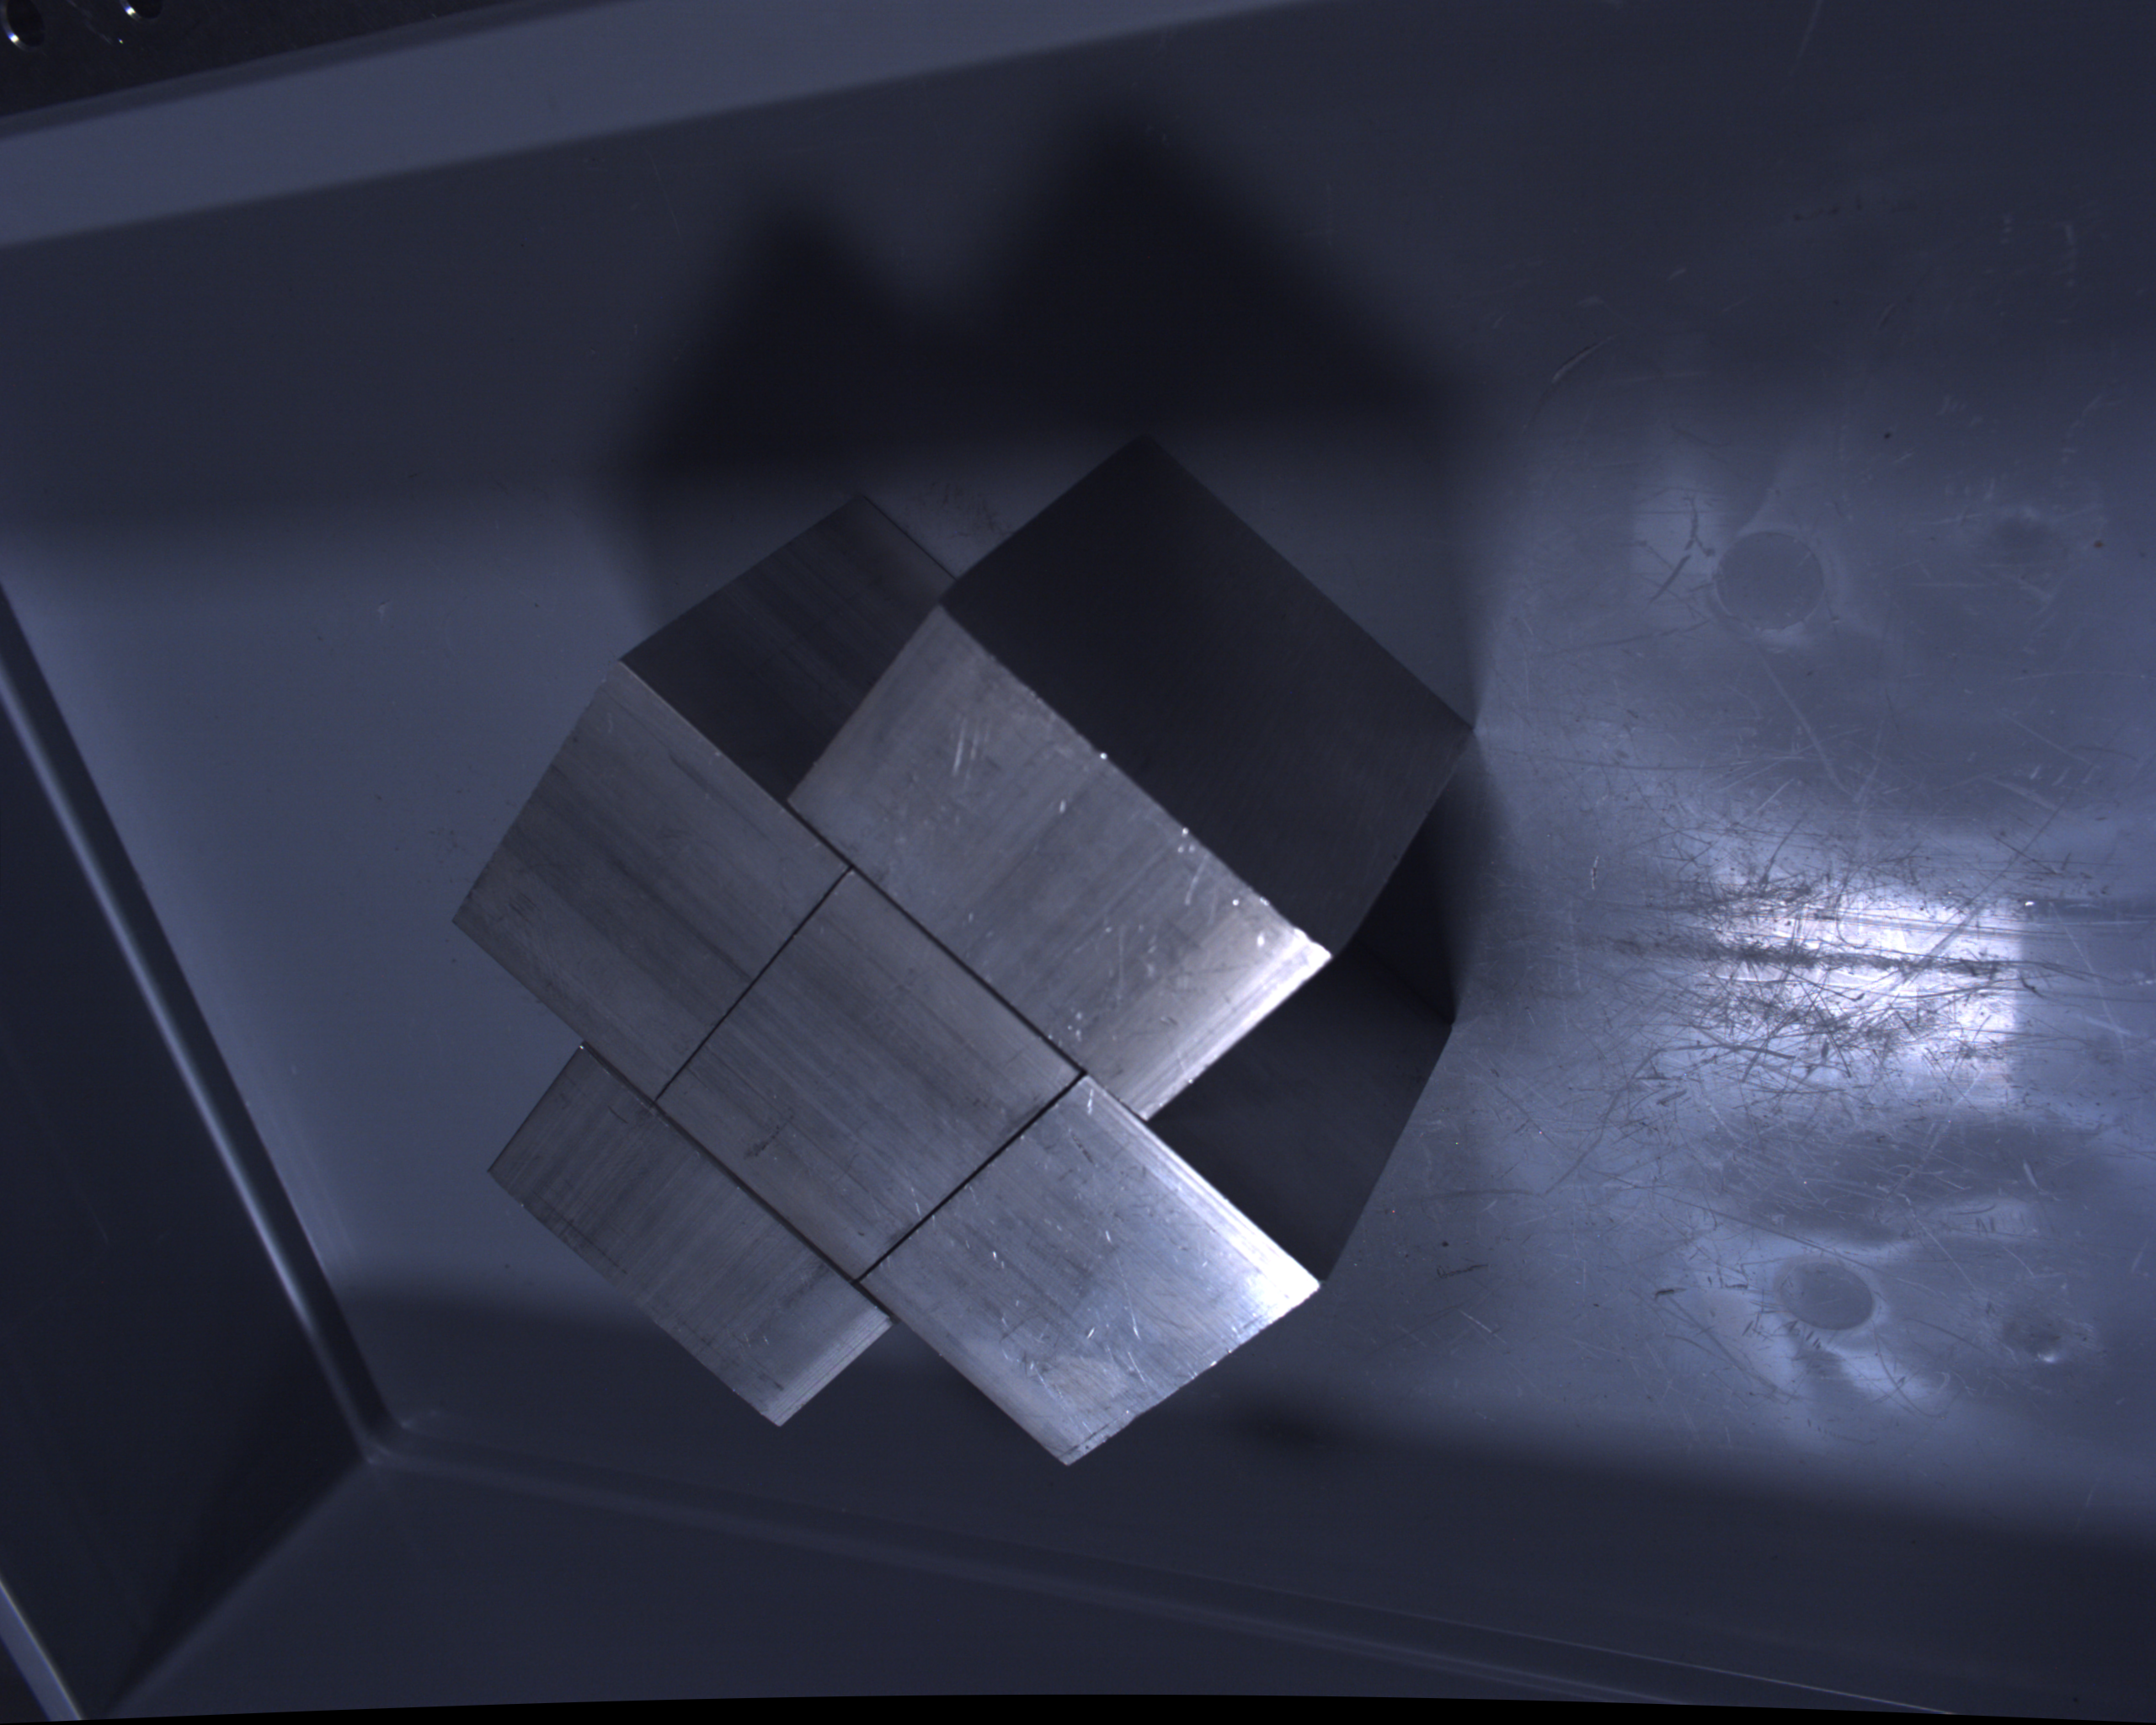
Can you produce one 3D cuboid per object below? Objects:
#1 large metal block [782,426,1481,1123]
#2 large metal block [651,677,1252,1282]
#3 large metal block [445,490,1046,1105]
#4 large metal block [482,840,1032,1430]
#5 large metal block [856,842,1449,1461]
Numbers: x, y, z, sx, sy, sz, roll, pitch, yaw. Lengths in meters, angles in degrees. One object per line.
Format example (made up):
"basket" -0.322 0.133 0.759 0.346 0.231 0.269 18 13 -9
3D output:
"large metal block" 0.012 -0.017 0.354 0.080 0.080 0.050 42 129 -1
"large metal block" -0.023 0.020 0.395 0.050 0.080 0.080 42 129 -1
"large metal block" -0.061 -0.013 0.394 0.050 0.080 0.080 42 129 -1
"large metal block" -0.060 0.055 0.436 0.080 0.080 0.050 42 129 -1
"large metal block" 0.015 0.054 0.397 0.050 0.080 0.080 42 129 -1
